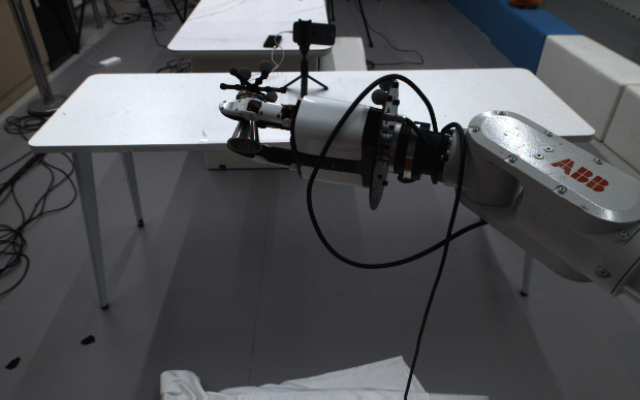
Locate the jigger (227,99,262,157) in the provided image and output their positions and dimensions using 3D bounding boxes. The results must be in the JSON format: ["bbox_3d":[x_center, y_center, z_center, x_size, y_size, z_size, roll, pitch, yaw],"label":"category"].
[{"bbox_3d":[-0.094,-0.100,0.629,0.043,0.043,0.071,4,71,2],"label":"jigger"}]
